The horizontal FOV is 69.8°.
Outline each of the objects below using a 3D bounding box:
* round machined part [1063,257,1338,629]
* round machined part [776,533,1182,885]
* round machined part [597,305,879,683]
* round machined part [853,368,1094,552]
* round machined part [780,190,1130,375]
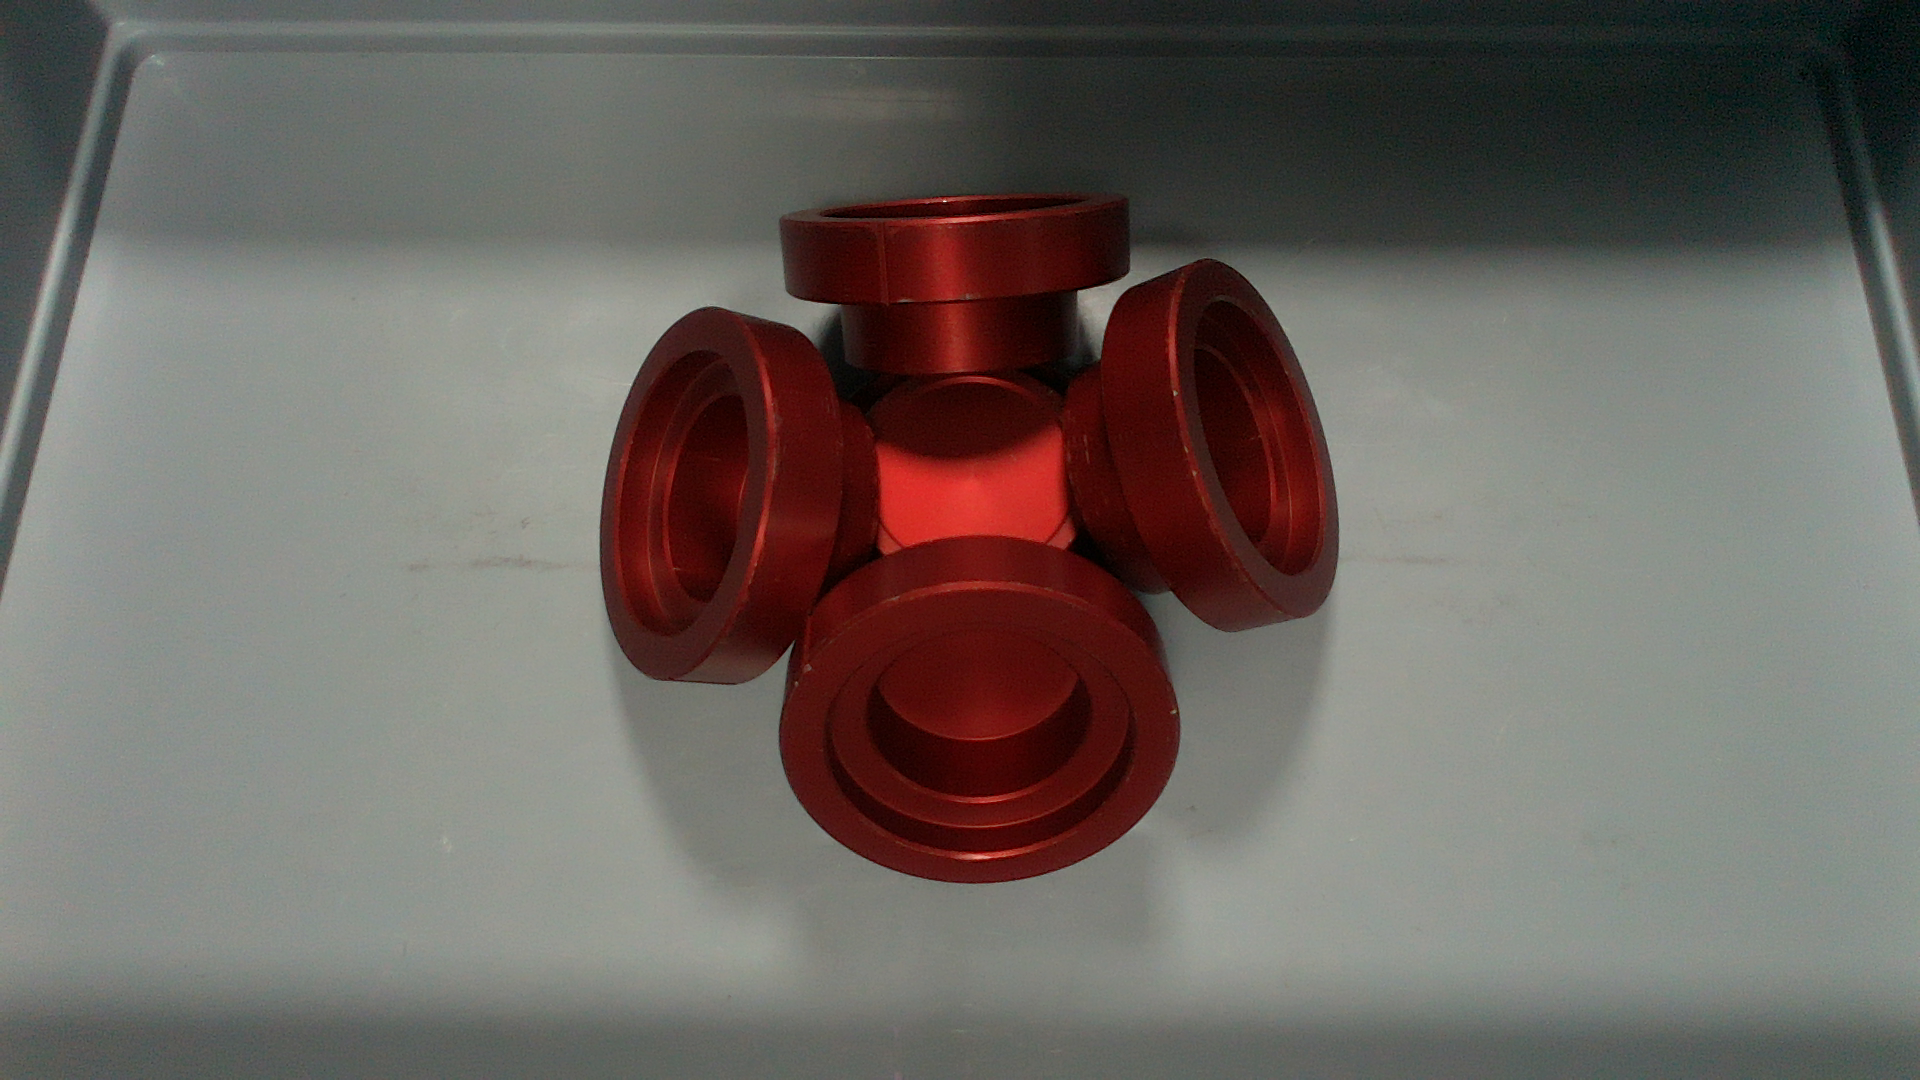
[{"bbox_3d":[0.064,-0.023,0.374,0.042,0.098,0.098,-16,66,33],"label":"round machined part"},{"bbox_3d":[0.004,0.039,0.350,0.098,0.098,0.042,-1,34,0],"label":"round machined part"},{"bbox_3d":[-0.058,-0.010,0.368,0.042,0.098,0.098,9,65,-37],"label":"round machined part"},{"bbox_3d":[0.003,-0.012,0.388,0.098,0.042,0.098,0,70,0],"label":"round machined part"},{"bbox_3d":[-0.001,-0.074,0.391,0.098,0.098,0.042,-4,108,-1],"label":"round machined part"}]
